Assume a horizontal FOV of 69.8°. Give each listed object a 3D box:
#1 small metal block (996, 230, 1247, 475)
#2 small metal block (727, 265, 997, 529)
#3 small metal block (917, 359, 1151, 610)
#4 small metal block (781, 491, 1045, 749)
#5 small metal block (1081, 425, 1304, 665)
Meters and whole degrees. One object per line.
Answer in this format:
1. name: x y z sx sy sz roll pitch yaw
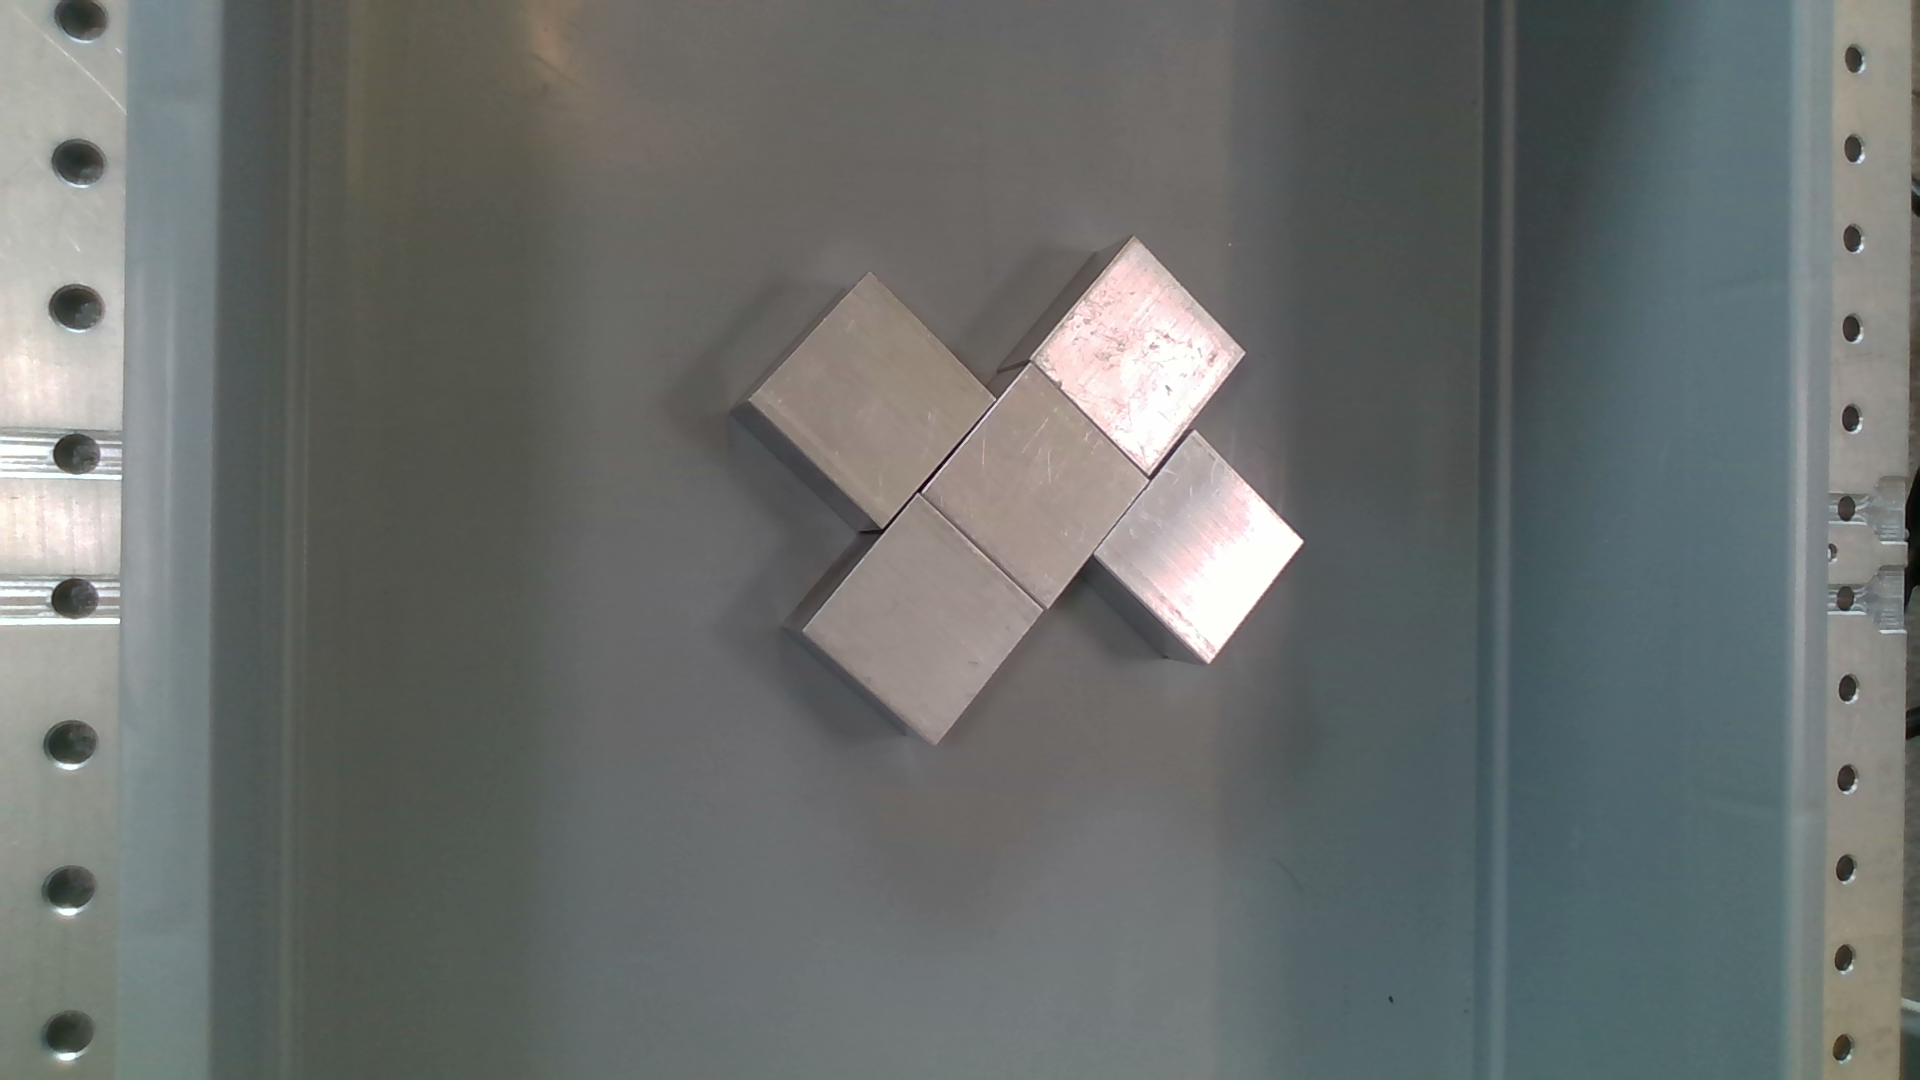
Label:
1. small metal block: 0.048 -0.054 0.410 0.050 0.025 0.050 43 76 -15
2. small metal block: -0.027 -0.039 0.383 0.050 0.025 0.050 44 76 -14
3. small metal block: 0.018 -0.015 0.398 0.050 0.025 0.050 43 76 -15
4. small metal block: -0.013 0.022 0.387 0.050 0.025 0.050 43 76 -15
5. small metal block: 0.067 0.001 0.417 0.050 0.025 0.050 44 76 -16
